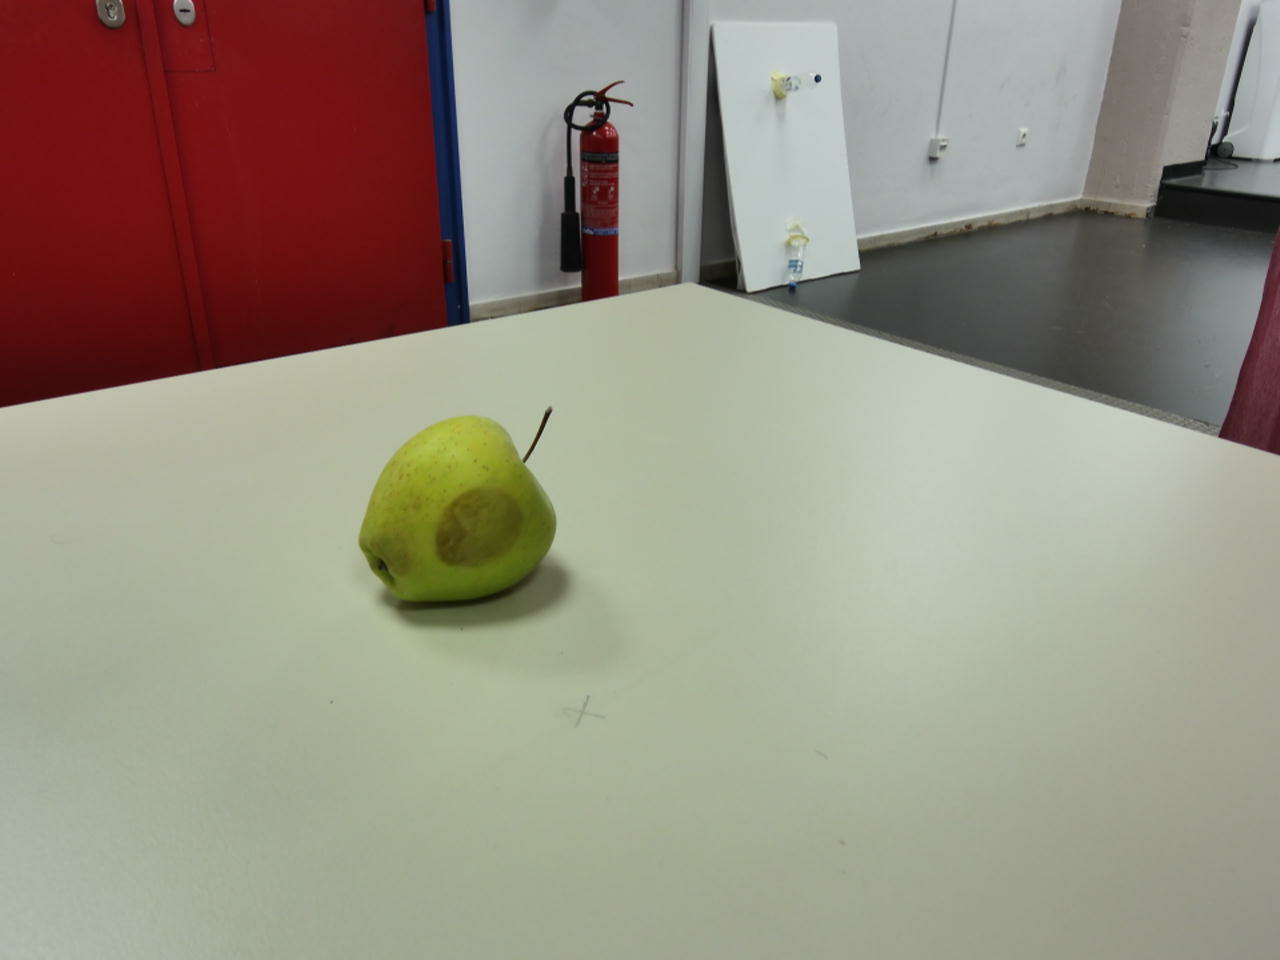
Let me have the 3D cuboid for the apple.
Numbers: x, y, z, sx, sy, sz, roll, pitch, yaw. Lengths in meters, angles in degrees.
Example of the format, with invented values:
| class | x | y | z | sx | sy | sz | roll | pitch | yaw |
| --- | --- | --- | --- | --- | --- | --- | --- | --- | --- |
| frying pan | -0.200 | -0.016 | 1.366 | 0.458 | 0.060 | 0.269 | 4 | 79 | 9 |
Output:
| class | x | y | z | sx | sy | sz | roll | pitch | yaw |
| --- | --- | --- | --- | --- | --- | --- | --- | --- | --- |
| apple | -0.074 | 0.011 | 0.415 | 0.077 | 0.075 | 0.072 | 4 | 23 | 4 |
